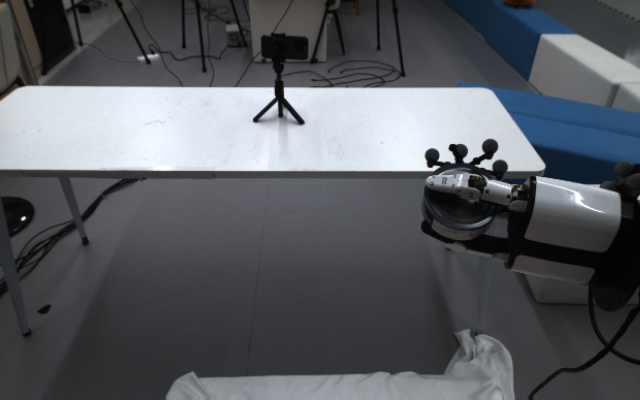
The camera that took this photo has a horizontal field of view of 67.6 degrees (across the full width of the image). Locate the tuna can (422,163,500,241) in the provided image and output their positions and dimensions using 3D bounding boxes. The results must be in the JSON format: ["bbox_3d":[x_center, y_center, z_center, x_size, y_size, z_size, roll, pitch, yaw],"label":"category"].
[{"bbox_3d":[0.161,-0.003,0.553,0.085,0.034,0.085,-2,57,3],"label":"tuna can"}]
